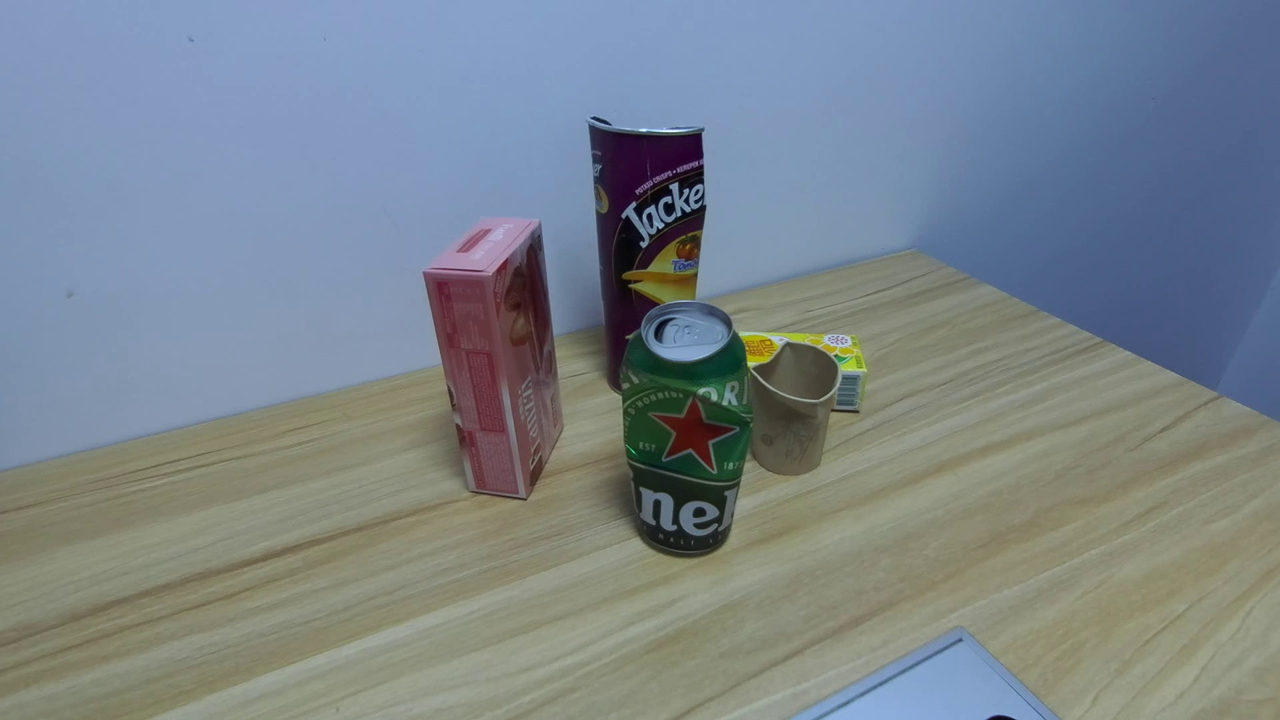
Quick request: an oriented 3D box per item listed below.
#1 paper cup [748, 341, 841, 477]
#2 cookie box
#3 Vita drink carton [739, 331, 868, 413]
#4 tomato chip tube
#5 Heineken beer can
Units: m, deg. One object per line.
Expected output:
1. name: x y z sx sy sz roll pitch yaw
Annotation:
1. paper cup: 0.120 0.040 0.543 0.066 0.084 0.072 23 38 34
2. cookie box: -0.100 0.001 0.522 0.048 0.185 0.096 4 31 12
3. Vita drink carton: 0.140 0.008 0.631 0.109 0.043 0.066 3 31 5
4. tomato chip tube: 0.007 -0.082 0.602 0.076 0.235 0.077 -14 32 -21
5. Heineken beer can: 0.030 0.050 0.455 0.069 0.168 0.068 -17 37 -21
